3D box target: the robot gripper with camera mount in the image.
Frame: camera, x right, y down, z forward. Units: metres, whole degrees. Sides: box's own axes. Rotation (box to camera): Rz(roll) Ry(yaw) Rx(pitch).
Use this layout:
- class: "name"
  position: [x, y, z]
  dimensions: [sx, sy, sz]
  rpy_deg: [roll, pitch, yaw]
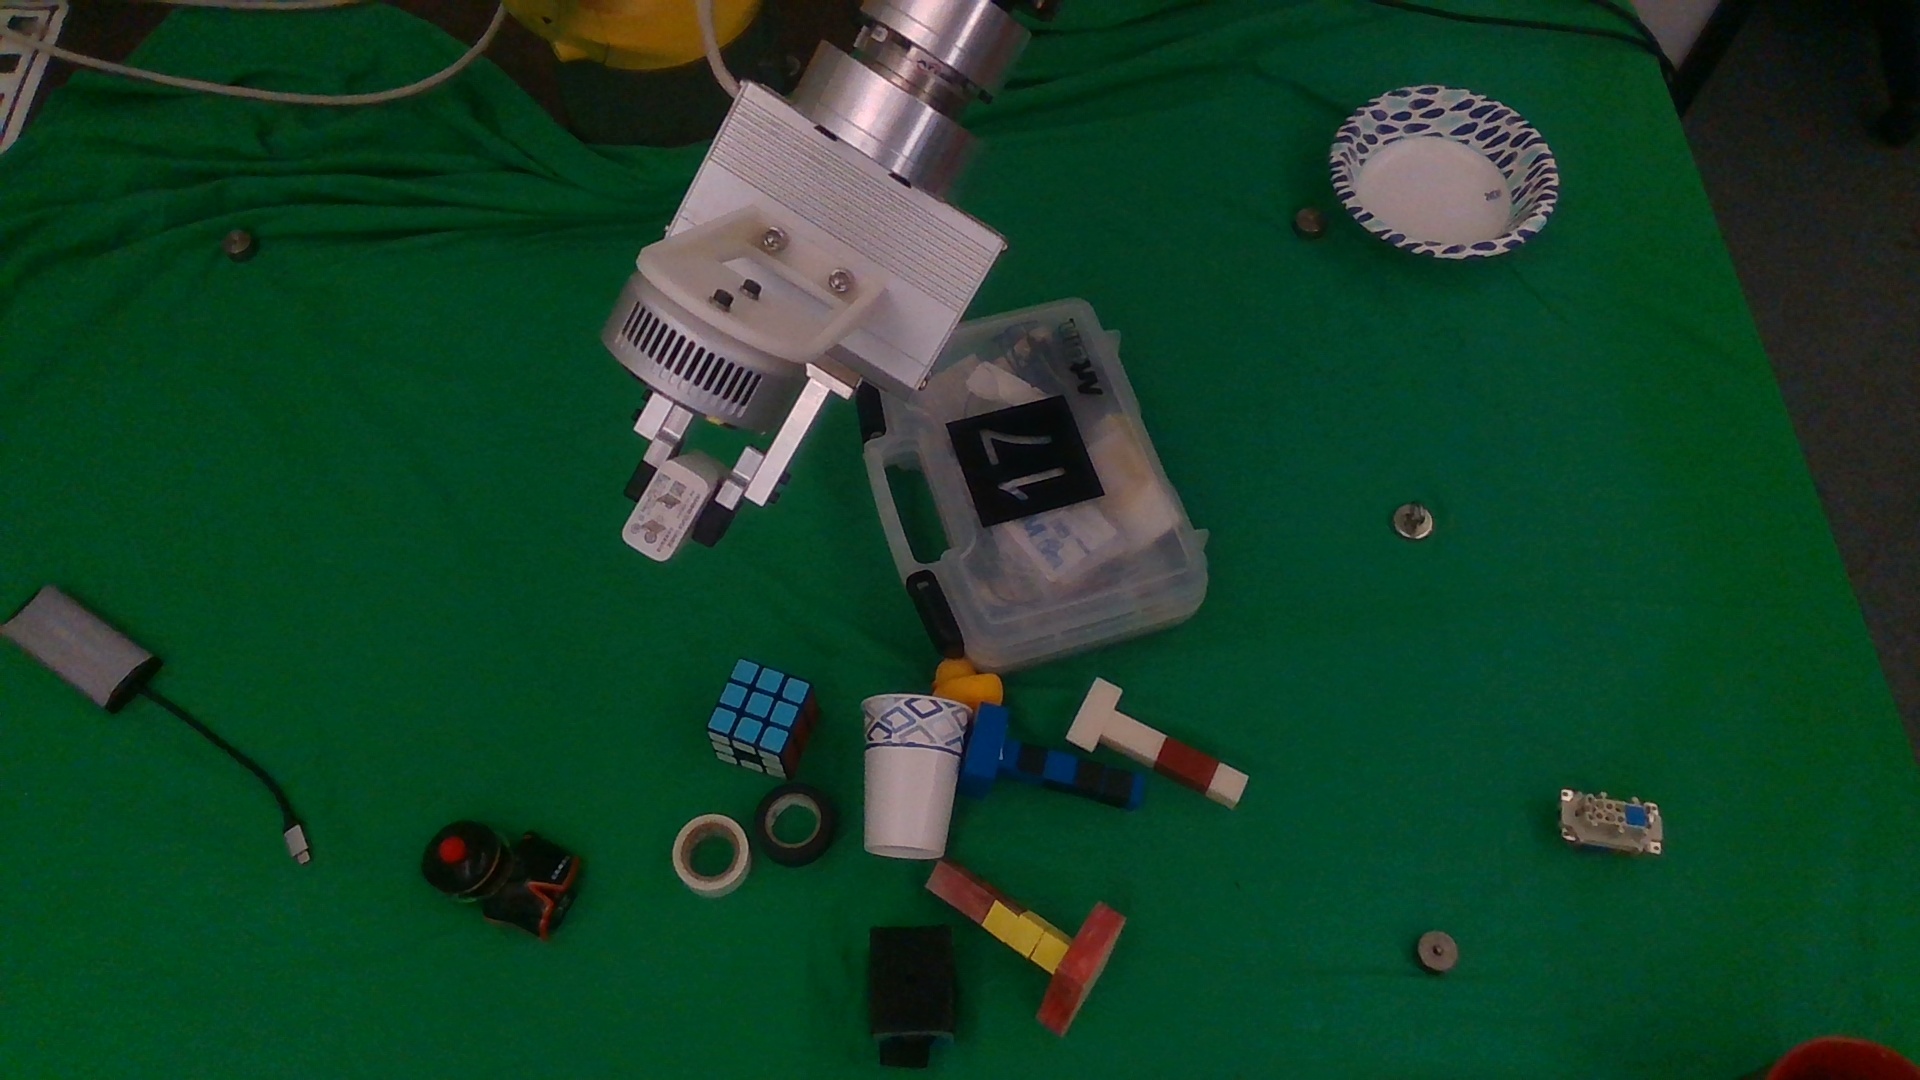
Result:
- class: "robot gripper with camera mount"
  position: [-0.075, -0.054, 0.485]
  dimensions: [0.119, 0.193, 0.159]
  rpy_deg: [31, 105, -1]

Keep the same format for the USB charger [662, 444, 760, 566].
- class: "USB charger"
  position: [-0.101, -0.014, 0.559]
  dimensions: [0.029, 0.075, 0.044]
  rpy_deg: [23, 96, -7]
